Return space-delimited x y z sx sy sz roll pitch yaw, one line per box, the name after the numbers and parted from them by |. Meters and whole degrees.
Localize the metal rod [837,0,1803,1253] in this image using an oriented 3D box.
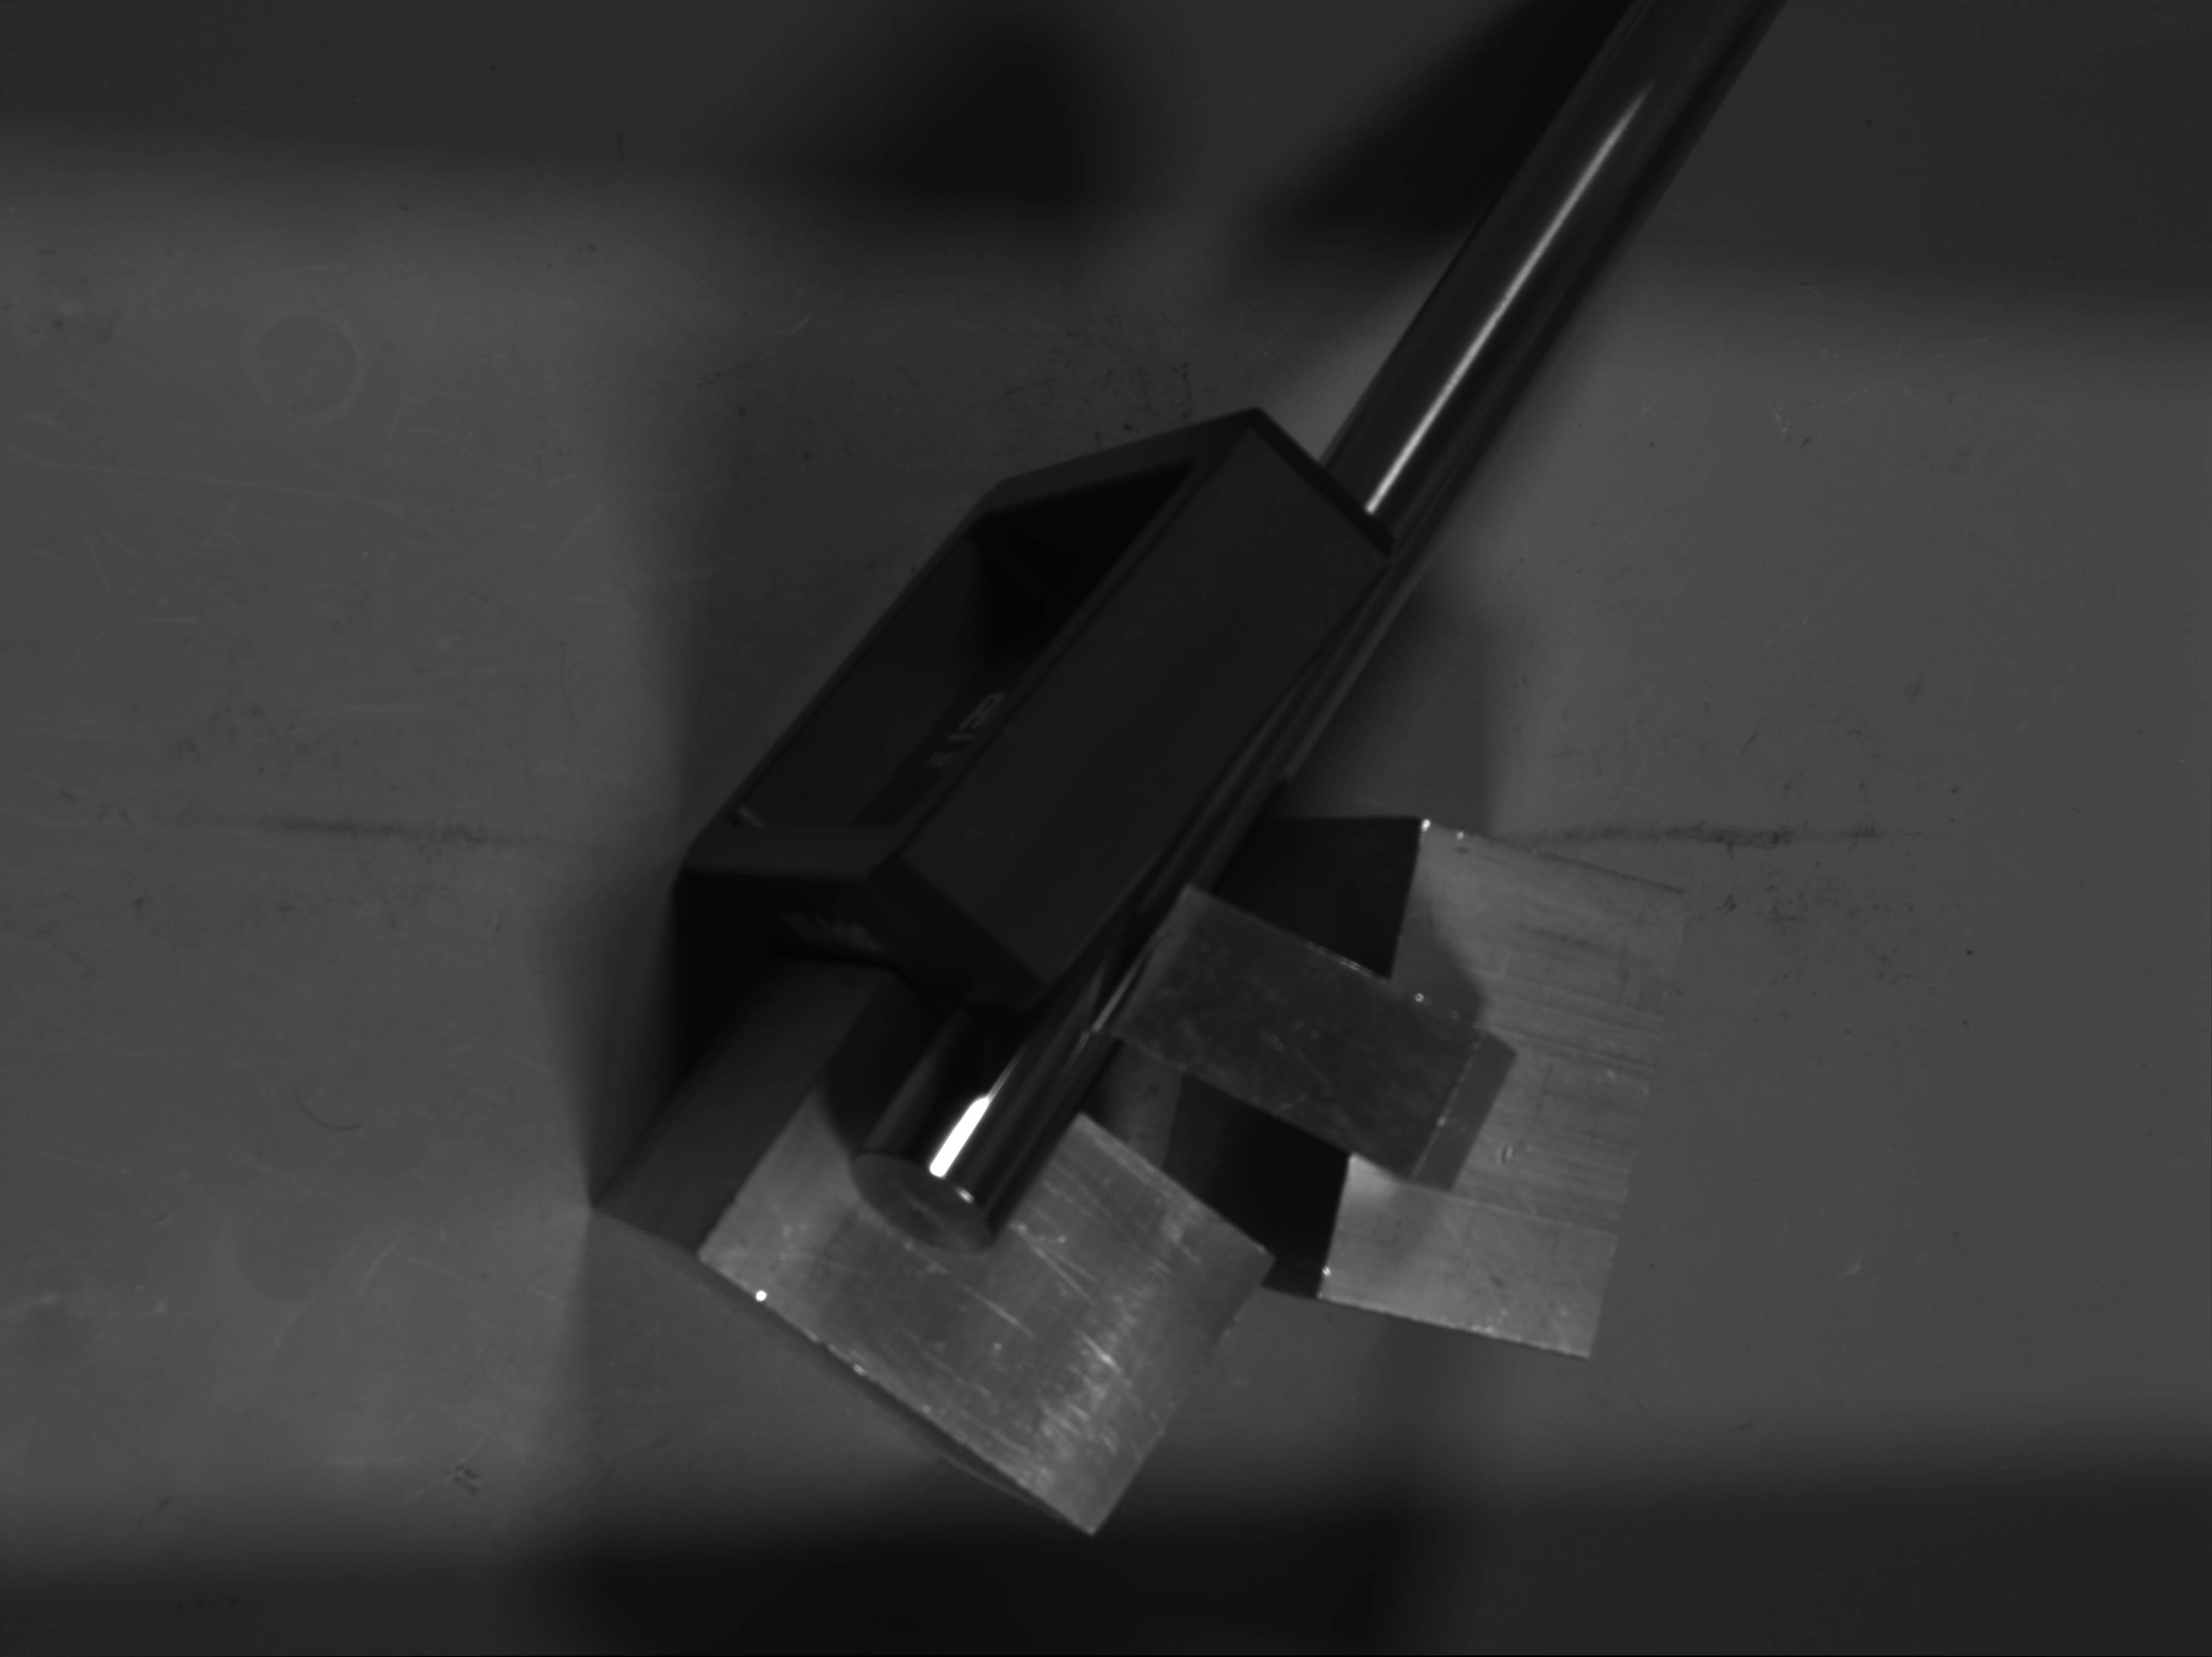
0.045 -0.053 0.611 0.025 0.025 0.300 43 59 -15 | metal rod

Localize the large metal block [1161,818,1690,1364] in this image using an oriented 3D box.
0.052 0.043 0.633 0.050 0.080 0.080 14 85 -19 | large metal block

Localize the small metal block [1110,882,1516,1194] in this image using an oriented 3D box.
0.033 0.033 0.562 0.050 0.050 0.025 26 89 14 | small metal block

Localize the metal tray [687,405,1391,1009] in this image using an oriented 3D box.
-0.015 -0.018 0.581 0.030 0.130 0.090 42 78 -14 | metal tray

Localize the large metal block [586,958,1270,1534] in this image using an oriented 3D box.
-0.032 0.066 0.603 0.080 0.080 0.050 38 78 -16 | large metal block
